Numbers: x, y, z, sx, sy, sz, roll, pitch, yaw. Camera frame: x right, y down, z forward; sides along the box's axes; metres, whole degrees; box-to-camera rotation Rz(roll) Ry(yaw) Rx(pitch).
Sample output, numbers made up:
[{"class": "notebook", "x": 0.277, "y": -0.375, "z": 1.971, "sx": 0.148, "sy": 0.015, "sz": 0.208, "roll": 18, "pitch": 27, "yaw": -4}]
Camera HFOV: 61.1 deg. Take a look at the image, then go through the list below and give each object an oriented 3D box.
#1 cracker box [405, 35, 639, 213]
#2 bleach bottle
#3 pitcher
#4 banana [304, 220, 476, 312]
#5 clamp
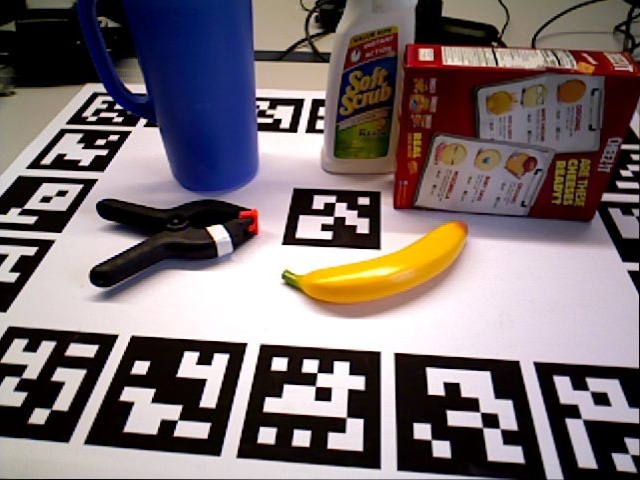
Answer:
[{"class": "cracker box", "x": 0.199, "y": -0.115, "z": 0.550, "sx": 0.213, "sy": 0.168, "sz": 0.070, "roll": 1, "pitch": 37, "yaw": 5}, {"class": "bleach bottle", "x": 0.048, "y": -0.187, "z": 0.597, "sx": 0.102, "sy": 0.256, "sz": 0.066, "roll": 1, "pitch": 39, "yaw": 2}, {"class": "pitcher", "x": -0.140, "y": -0.180, "z": 0.564, "sx": 0.186, "sy": 0.248, "sz": 0.132, "roll": -9, "pitch": 40, "yaw": -14}, {"class": "banana", "x": 0.085, "y": 0.026, "z": 0.520, "sx": 0.194, "sy": 0.039, "sz": 0.074, "roll": -22, "pitch": 43, "yaw": -23}, {"class": "clamp", "x": -0.133, "y": 0.000, "z": 0.545, "sx": 0.163, "sy": 0.037, "sz": 0.120, "roll": -8, "pitch": 39, "yaw": -11}]
